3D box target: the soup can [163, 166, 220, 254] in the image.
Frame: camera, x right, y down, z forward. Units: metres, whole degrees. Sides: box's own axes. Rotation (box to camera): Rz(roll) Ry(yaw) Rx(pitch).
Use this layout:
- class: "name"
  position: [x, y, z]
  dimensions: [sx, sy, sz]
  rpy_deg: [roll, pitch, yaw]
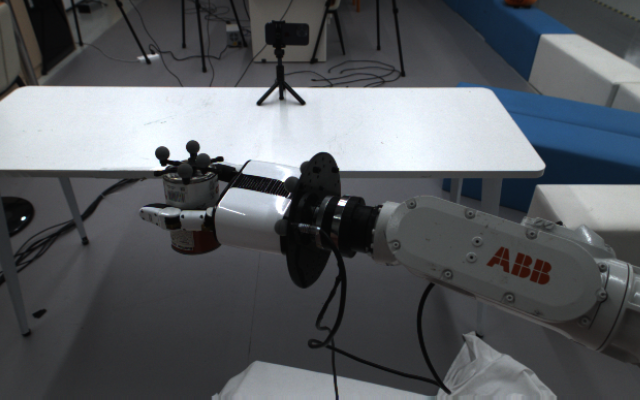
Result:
- class: "soup can"
  position: [-0.159, 0.011, 0.613]
  dimensions: [0.067, 0.101, 0.067]
  rpy_deg: [1, 25, 0]
